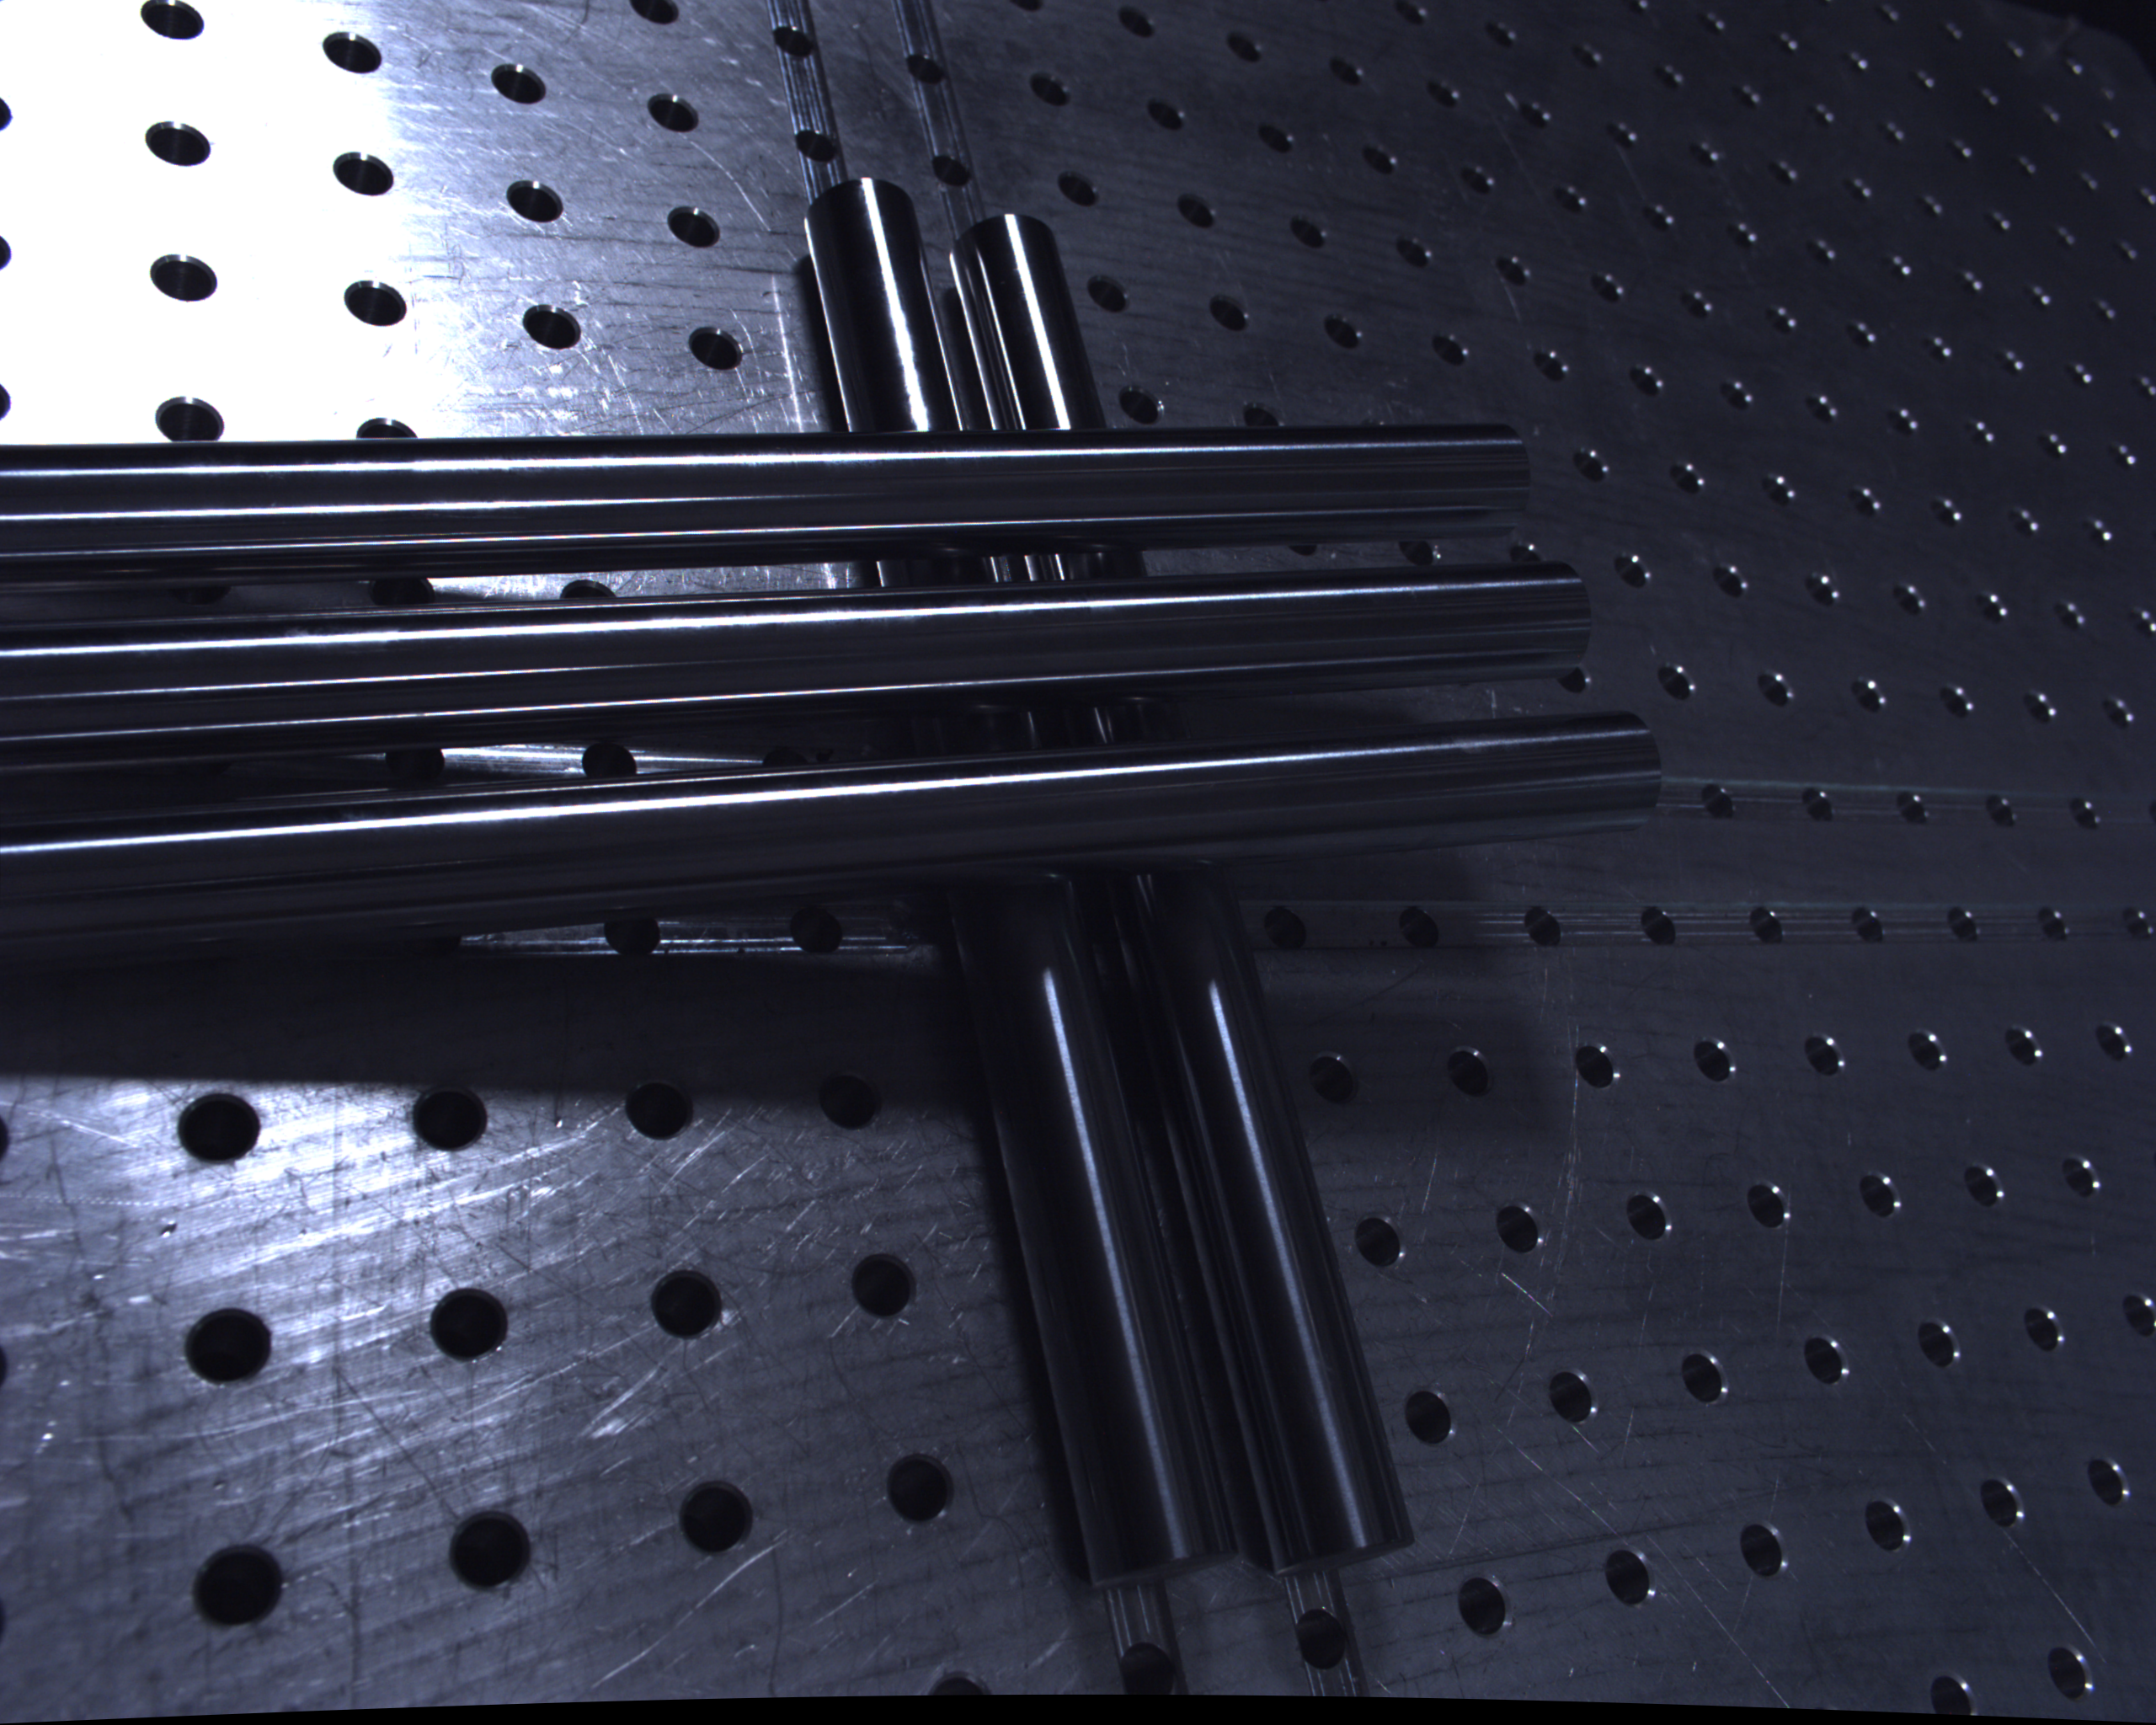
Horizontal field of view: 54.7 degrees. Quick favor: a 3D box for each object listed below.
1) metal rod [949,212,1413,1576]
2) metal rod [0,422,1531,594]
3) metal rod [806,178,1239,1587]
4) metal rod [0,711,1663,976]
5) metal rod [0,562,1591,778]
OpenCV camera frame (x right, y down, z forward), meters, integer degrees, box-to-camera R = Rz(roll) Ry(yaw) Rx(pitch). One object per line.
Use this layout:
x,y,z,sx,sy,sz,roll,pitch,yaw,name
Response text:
0.014,-0.011,0.424,0.025,0.025,0.299,1,61,-28,metal rod
-0.047,-0.070,0.400,0.303,0.025,0.025,-6,65,-22,metal rod
-0.017,-0.014,0.409,0.025,0.025,0.299,1,61,-28,metal rod
-0.029,-0.007,0.371,0.303,0.025,0.025,-5,64,-21,metal rod
-0.038,-0.038,0.386,0.303,0.025,0.025,-5,64,-22,metal rod
